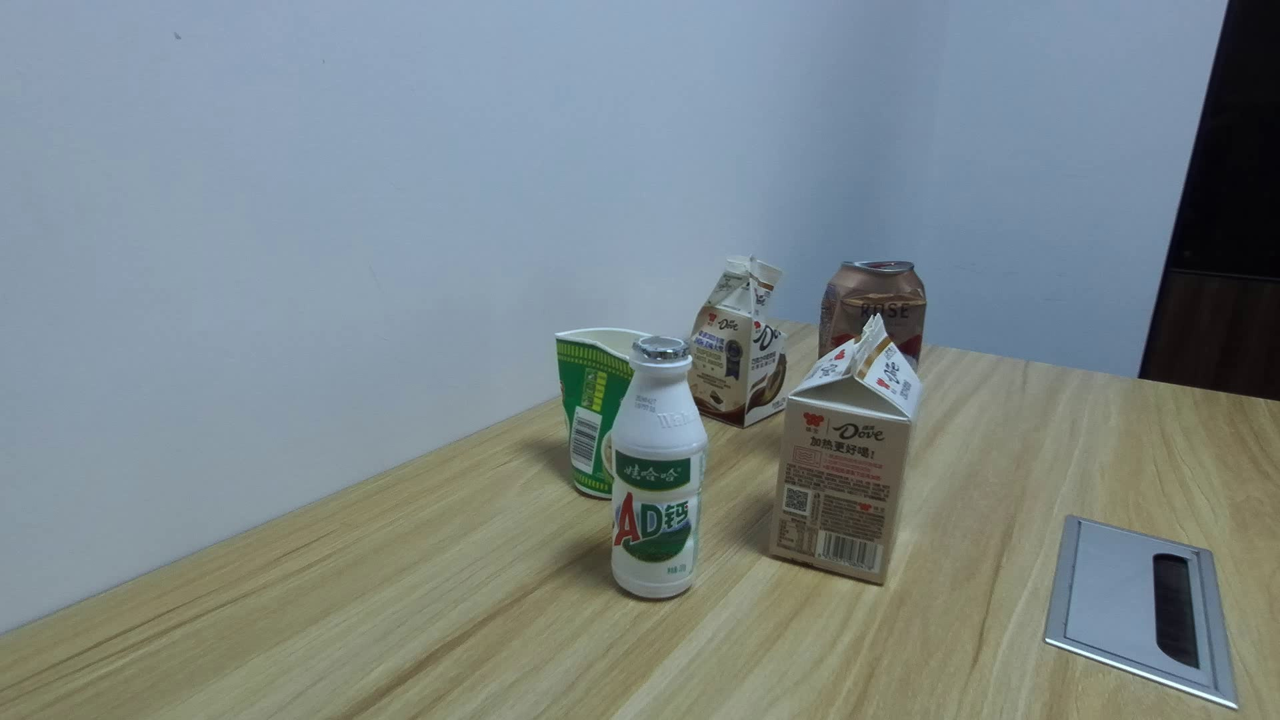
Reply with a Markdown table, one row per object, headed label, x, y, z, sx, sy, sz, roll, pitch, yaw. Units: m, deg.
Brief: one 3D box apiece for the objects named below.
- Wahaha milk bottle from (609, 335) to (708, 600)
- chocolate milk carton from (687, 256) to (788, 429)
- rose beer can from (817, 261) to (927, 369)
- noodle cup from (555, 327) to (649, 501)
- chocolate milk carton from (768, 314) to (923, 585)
| label | x | y | z | sx | sy | sz | roll | pitch | yaw |
| --- | --- | --- | --- | --- | --- | --- | --- | --- | --- |
| Wahaha milk bottle | 0.011 | 0.060 | 0.399 | 0.056 | 0.147 | 0.056 | 0 | 17 | 0 |
| chocolate milk carton | 0.096 | -0.024 | 0.655 | 0.073 | 0.155 | 0.076 | 17 | 23 | 41 |
| rose beer can | 0.178 | 0.006 | 0.552 | 0.075 | 0.167 | 0.065 | 5 | 16 | 17 |
| noodle cup | -0.018 | 0.039 | 0.542 | 0.070 | 0.111 | 0.114 | -11 | 31 | -19 |
| chocolate milk carton | 0.131 | 0.048 | 0.437 | 0.074 | 0.148 | 0.075 | 11 | 20 | 23 |
